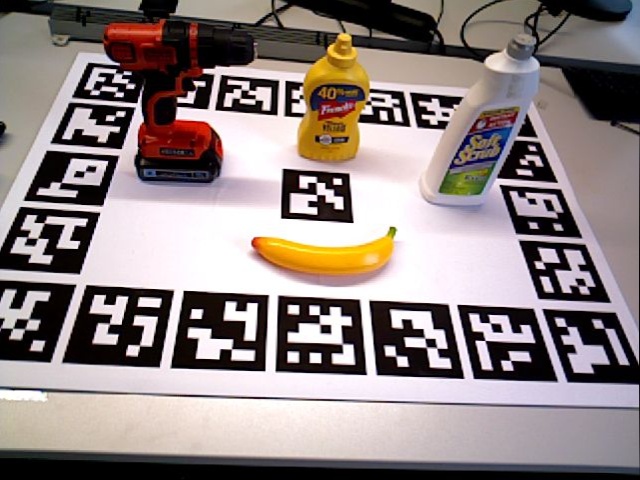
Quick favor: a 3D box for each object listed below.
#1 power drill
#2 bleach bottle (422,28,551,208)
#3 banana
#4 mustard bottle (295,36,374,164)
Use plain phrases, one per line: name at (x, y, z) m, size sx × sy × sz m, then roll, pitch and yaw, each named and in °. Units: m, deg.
power drill at (-0.157, -0.192, 0.688) m, size 0.183 × 0.191 × 0.056 m, roll -2°, pitch 51°, yaw -6°
bleach bottle at (0.218, -0.153, 0.712) m, size 0.102 × 0.257 × 0.066 m, roll 11°, pitch 50°, yaw -1°
banana at (0.017, 0.011, 0.678) m, size 0.196 × 0.040 × 0.073 m, roll -2°, pitch 53°, yaw -6°
mustard bottle at (0.024, -0.195, 0.759) m, size 0.095 × 0.196 × 0.057 m, roll -1°, pitch 51°, yaw -13°
